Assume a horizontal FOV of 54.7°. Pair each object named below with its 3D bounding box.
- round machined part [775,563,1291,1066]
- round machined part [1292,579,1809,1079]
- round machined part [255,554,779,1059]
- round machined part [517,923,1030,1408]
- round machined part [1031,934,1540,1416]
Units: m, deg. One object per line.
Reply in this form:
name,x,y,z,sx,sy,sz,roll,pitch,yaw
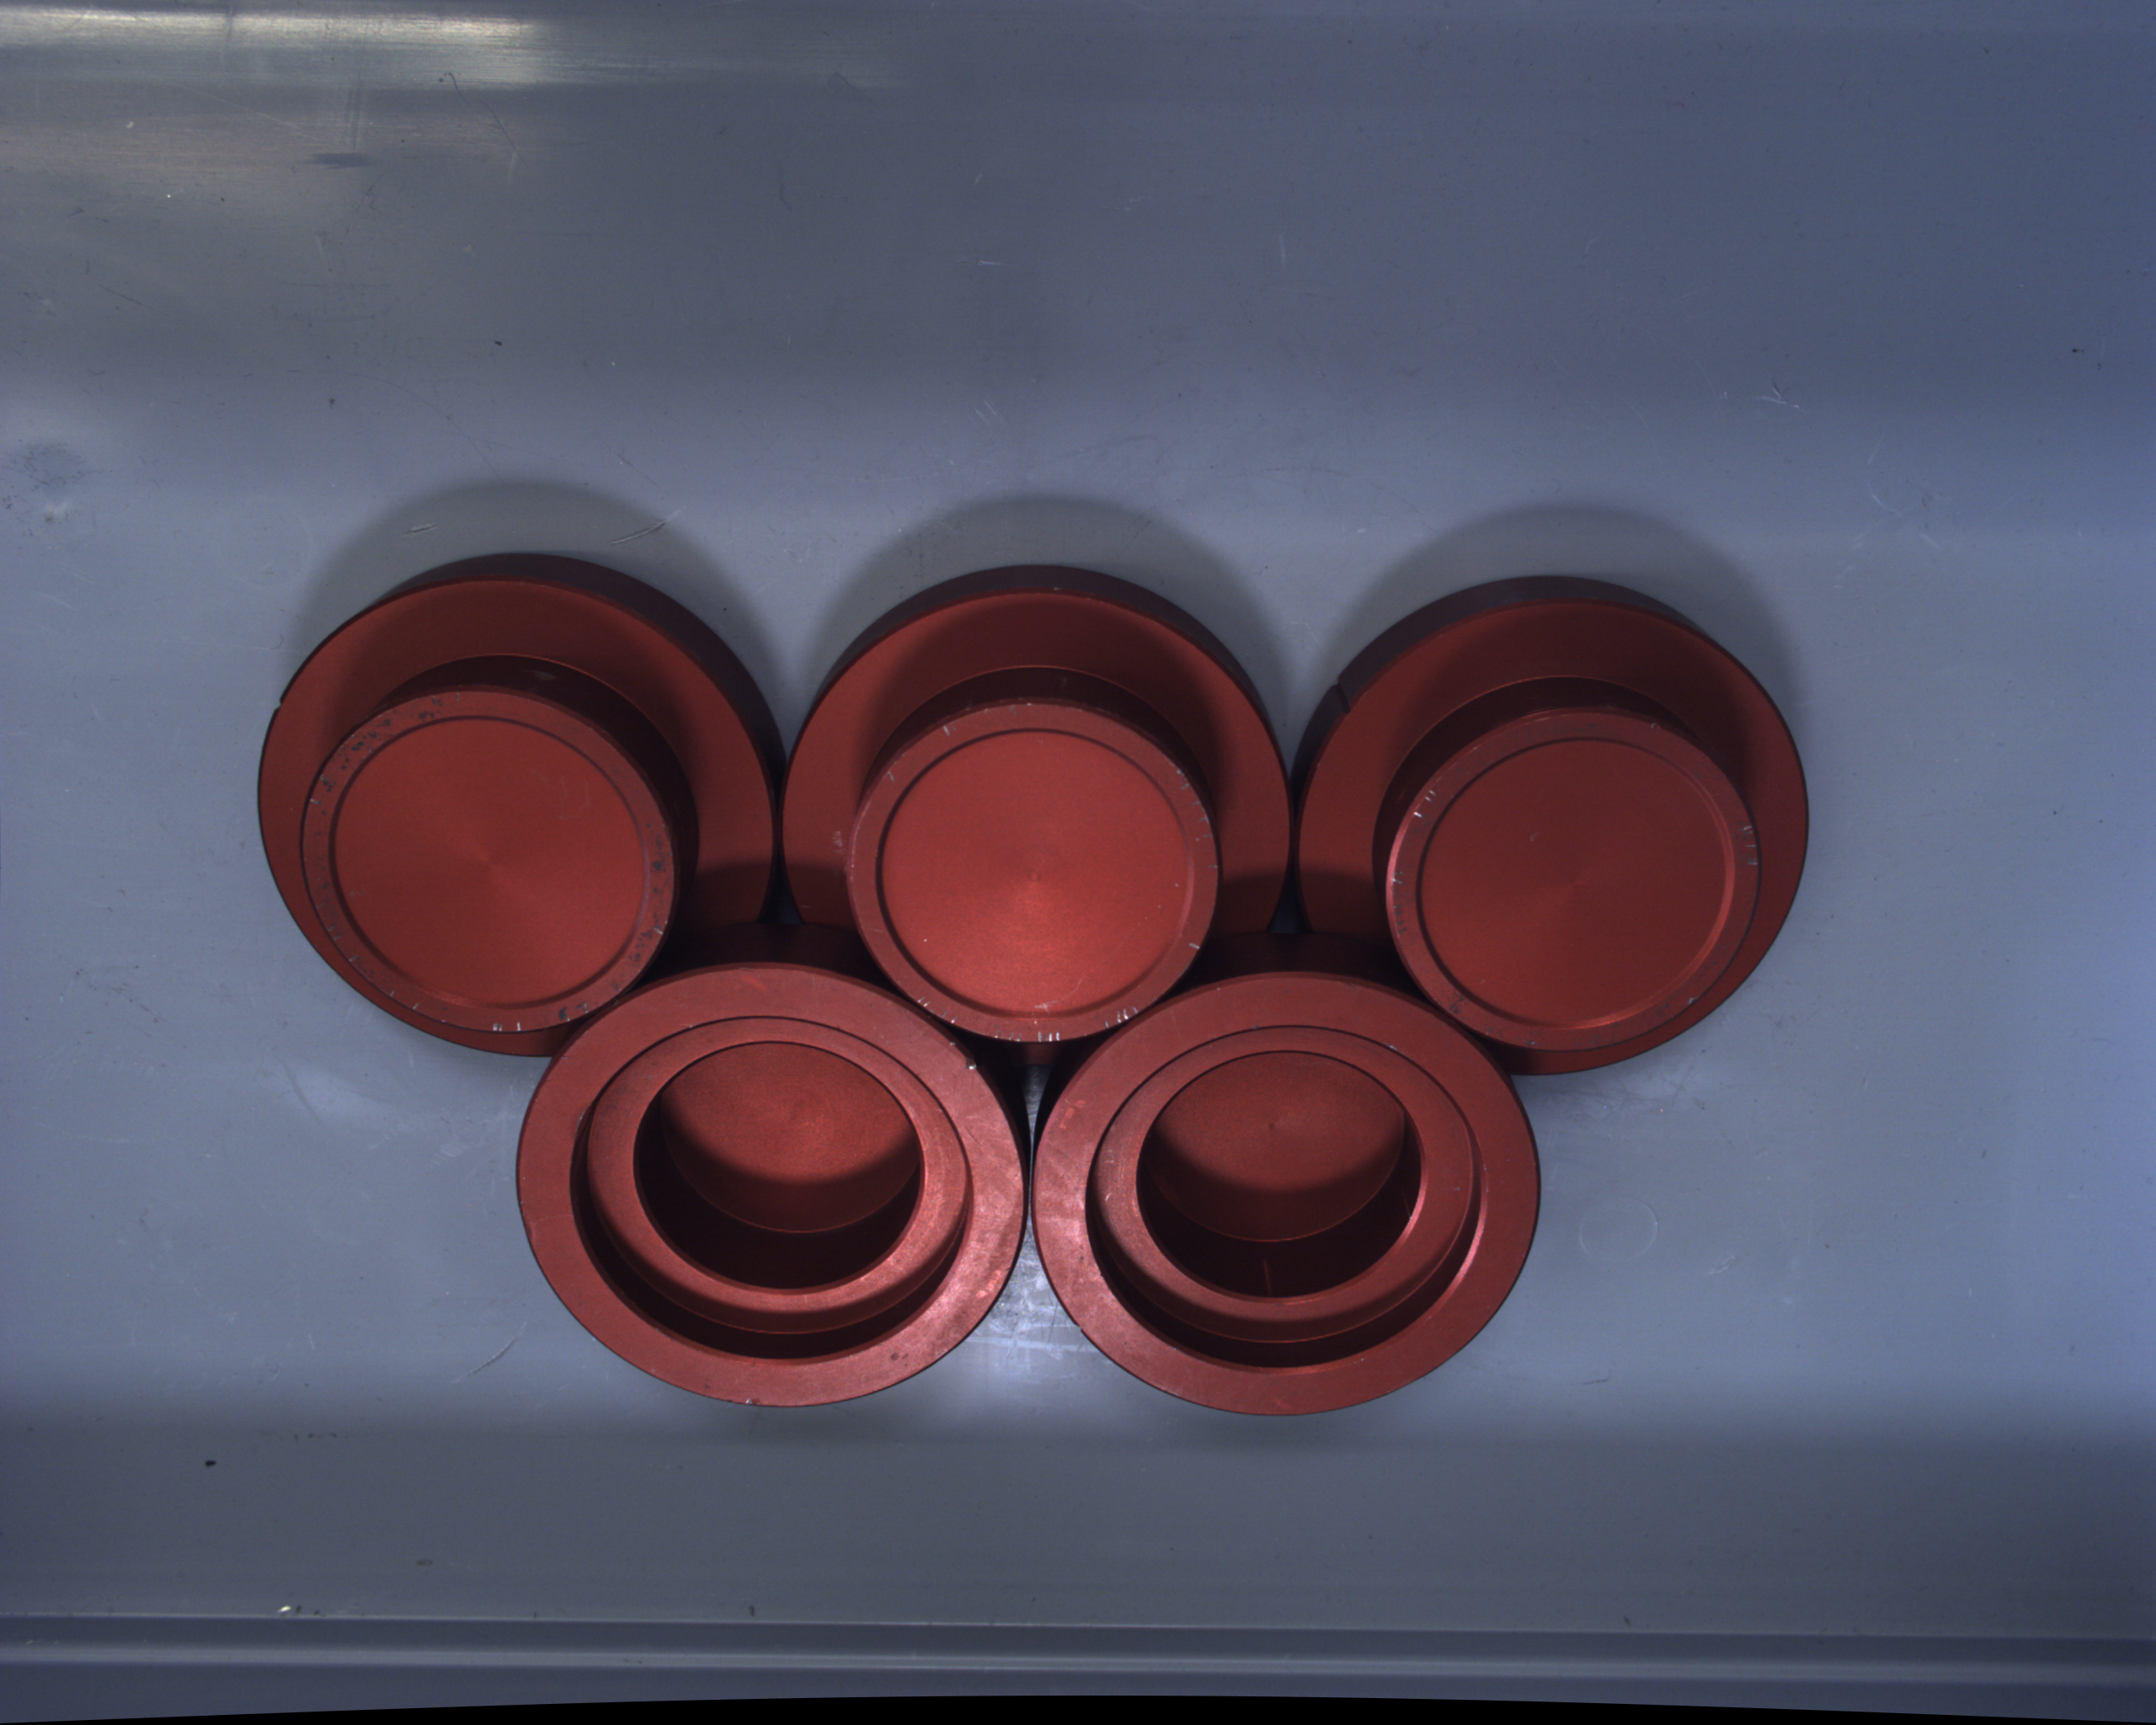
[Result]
round machined part,-0.009,-0.005,0.398,0.099,0.042,0.097,0,109,0
round machined part,0.091,-0.002,0.399,0.099,0.042,0.097,0,109,0
round machined part,-0.107,-0.007,0.396,0.099,0.042,0.097,0,109,-1
round machined part,-0.059,0.057,0.421,0.099,0.042,0.097,0,110,0
round machined part,0.040,0.059,0.422,0.099,0.042,0.097,0,110,0
